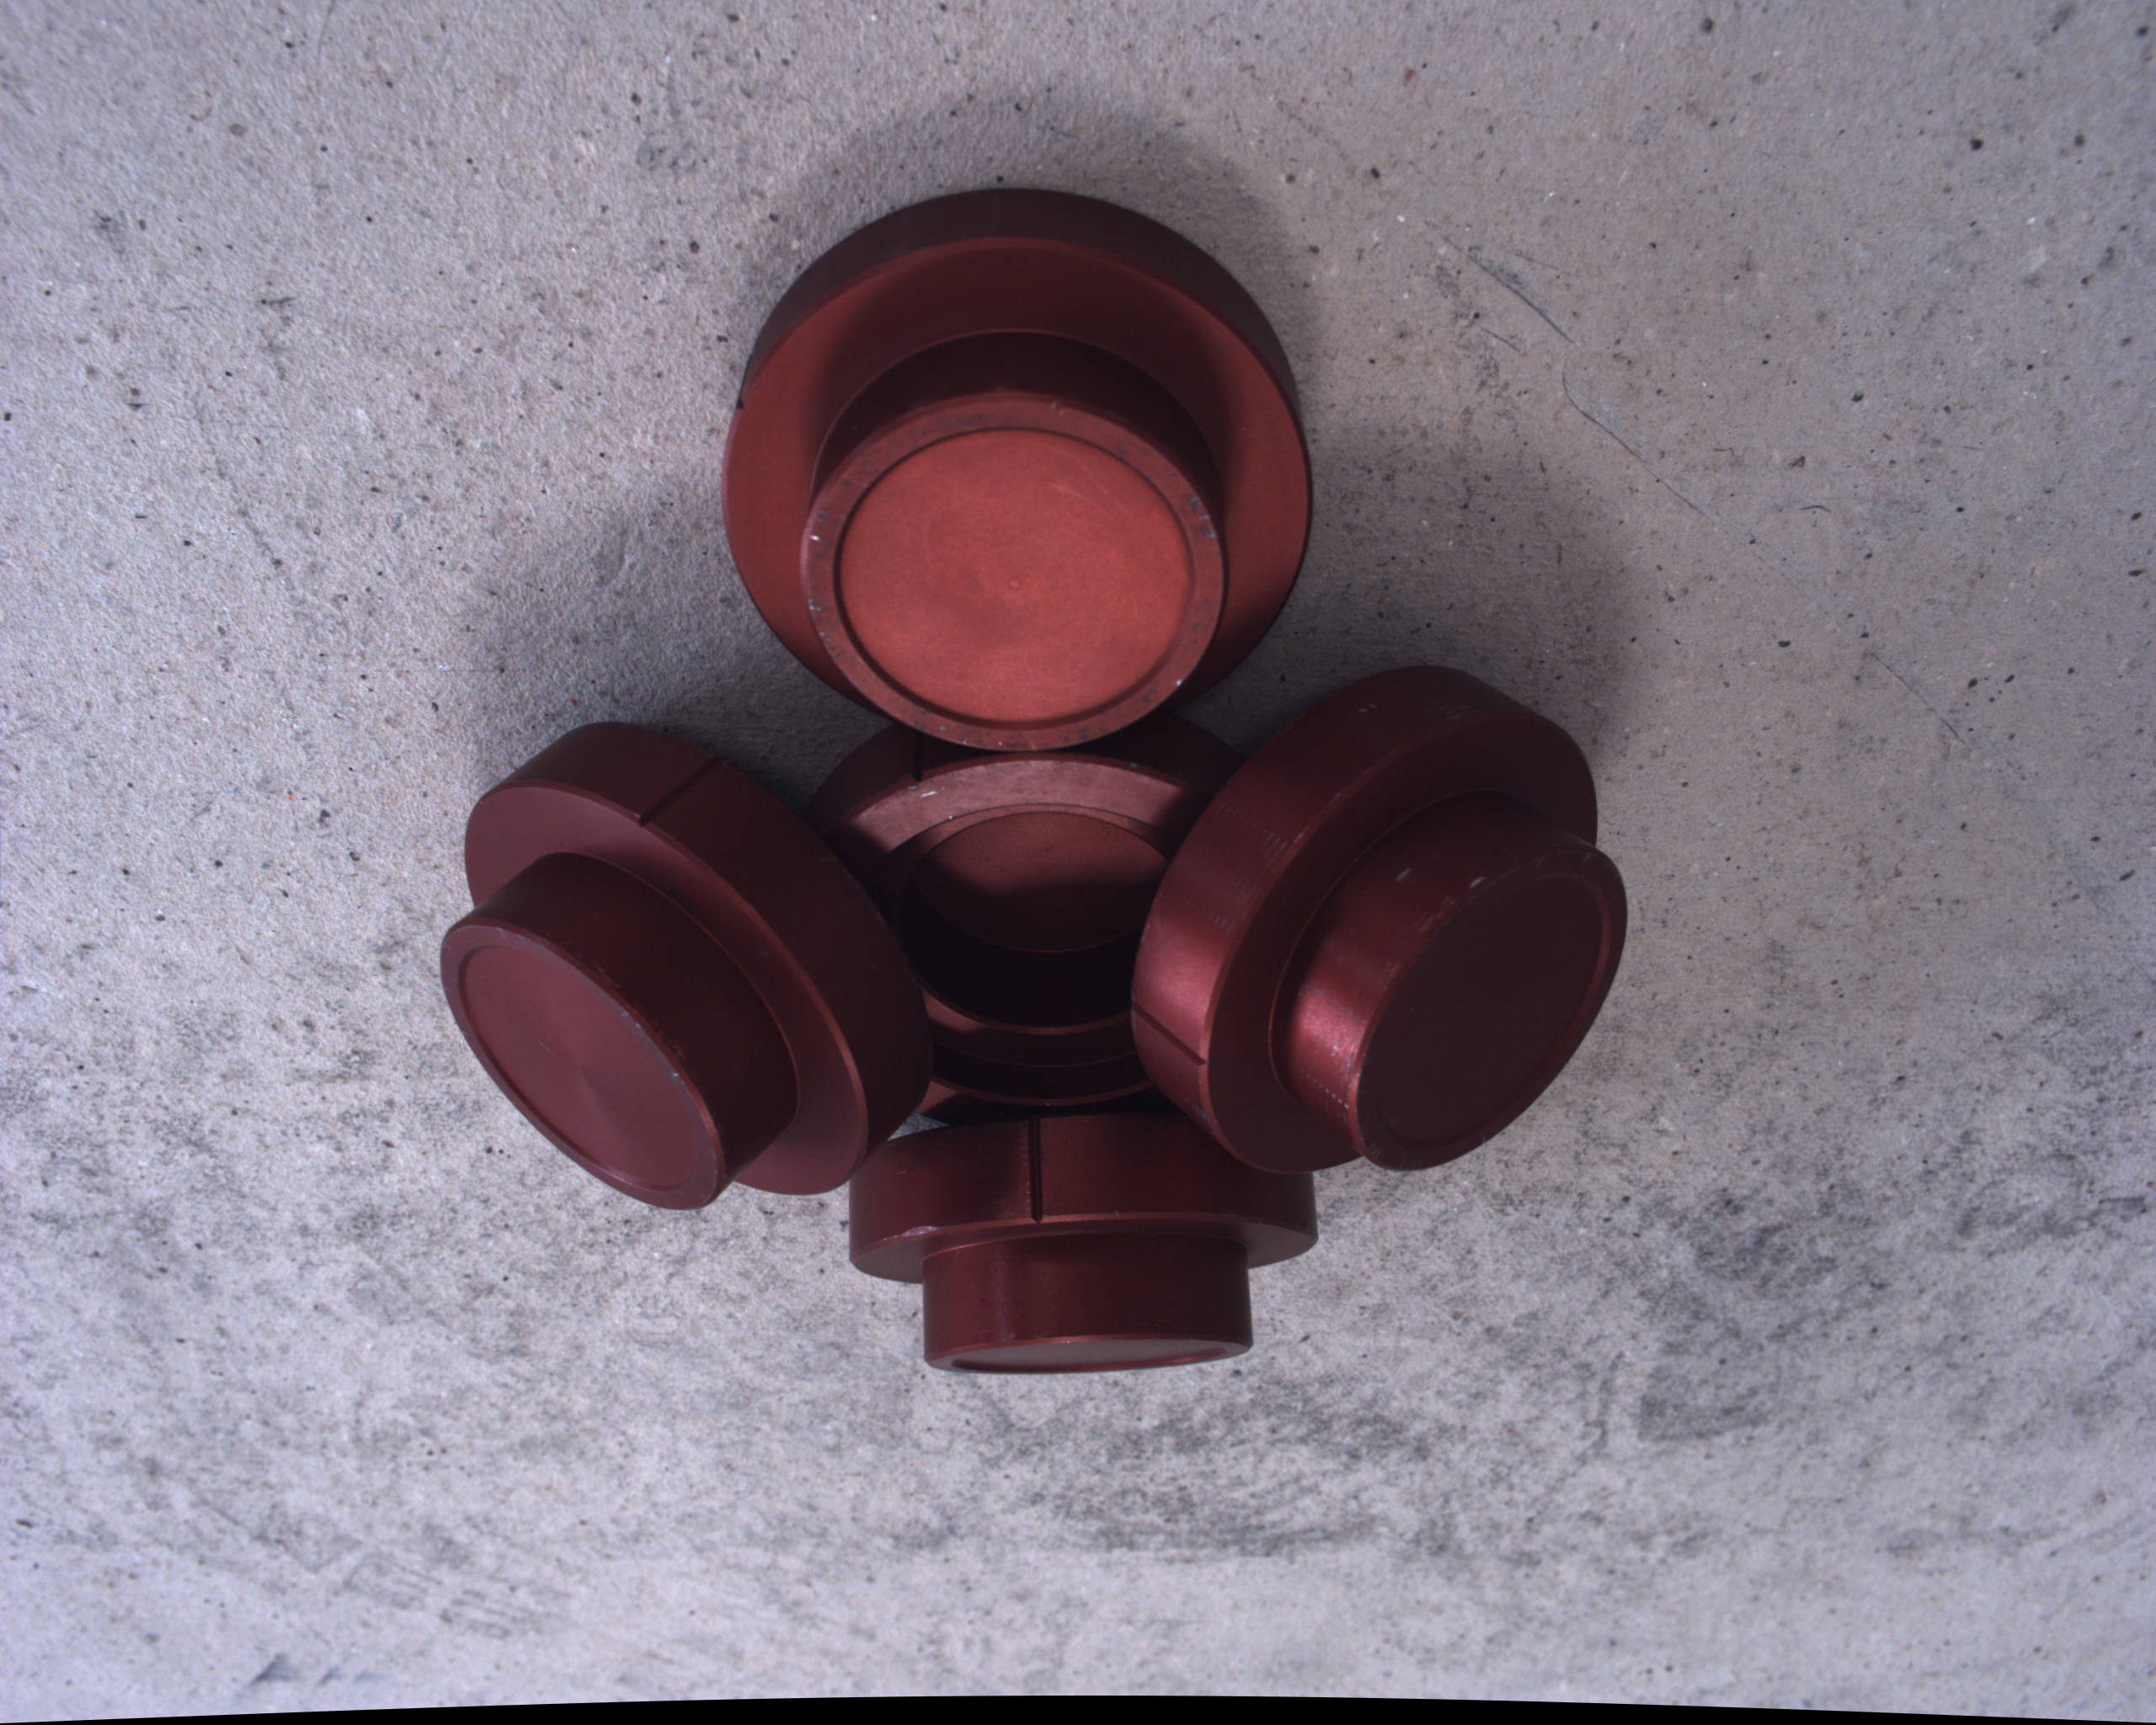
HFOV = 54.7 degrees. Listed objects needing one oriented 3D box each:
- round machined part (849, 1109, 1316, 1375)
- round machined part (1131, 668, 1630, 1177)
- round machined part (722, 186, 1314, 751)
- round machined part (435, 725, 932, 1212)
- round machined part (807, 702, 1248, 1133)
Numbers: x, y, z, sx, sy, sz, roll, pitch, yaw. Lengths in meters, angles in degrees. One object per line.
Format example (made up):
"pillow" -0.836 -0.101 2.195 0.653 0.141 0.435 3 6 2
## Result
"round machined part" 0.001 0.083 0.440 0.099 0.042 0.098 -2 161 -1
"round machined part" 0.061 0.017 0.379 0.099 0.042 0.097 -24 132 -28
"round machined part" -0.010 -0.058 0.348 0.099 0.042 0.097 0 129 0
"round machined part" -0.079 0.026 0.387 0.098 0.042 0.097 24 140 23
"round machined part" -0.005 0.005 0.402 0.099 0.042 0.097 1 129 2
